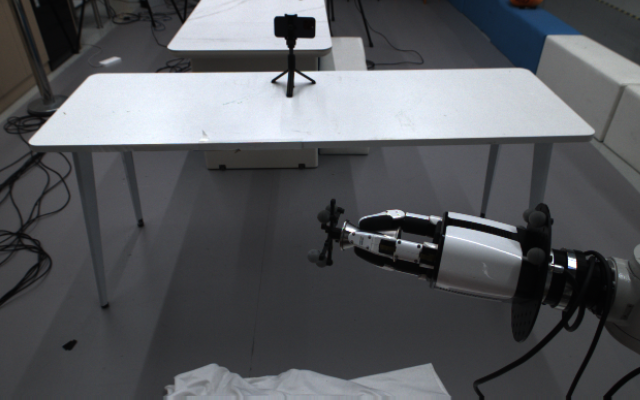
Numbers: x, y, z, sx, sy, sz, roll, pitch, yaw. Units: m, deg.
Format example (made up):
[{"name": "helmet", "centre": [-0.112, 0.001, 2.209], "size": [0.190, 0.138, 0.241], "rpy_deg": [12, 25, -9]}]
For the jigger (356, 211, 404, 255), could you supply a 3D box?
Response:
[{"name": "jigger", "centre": [0.069, 0.045, 0.595], "size": [0.071, 0.043, 0.043], "rpy_deg": [8, 35, 16]}]
